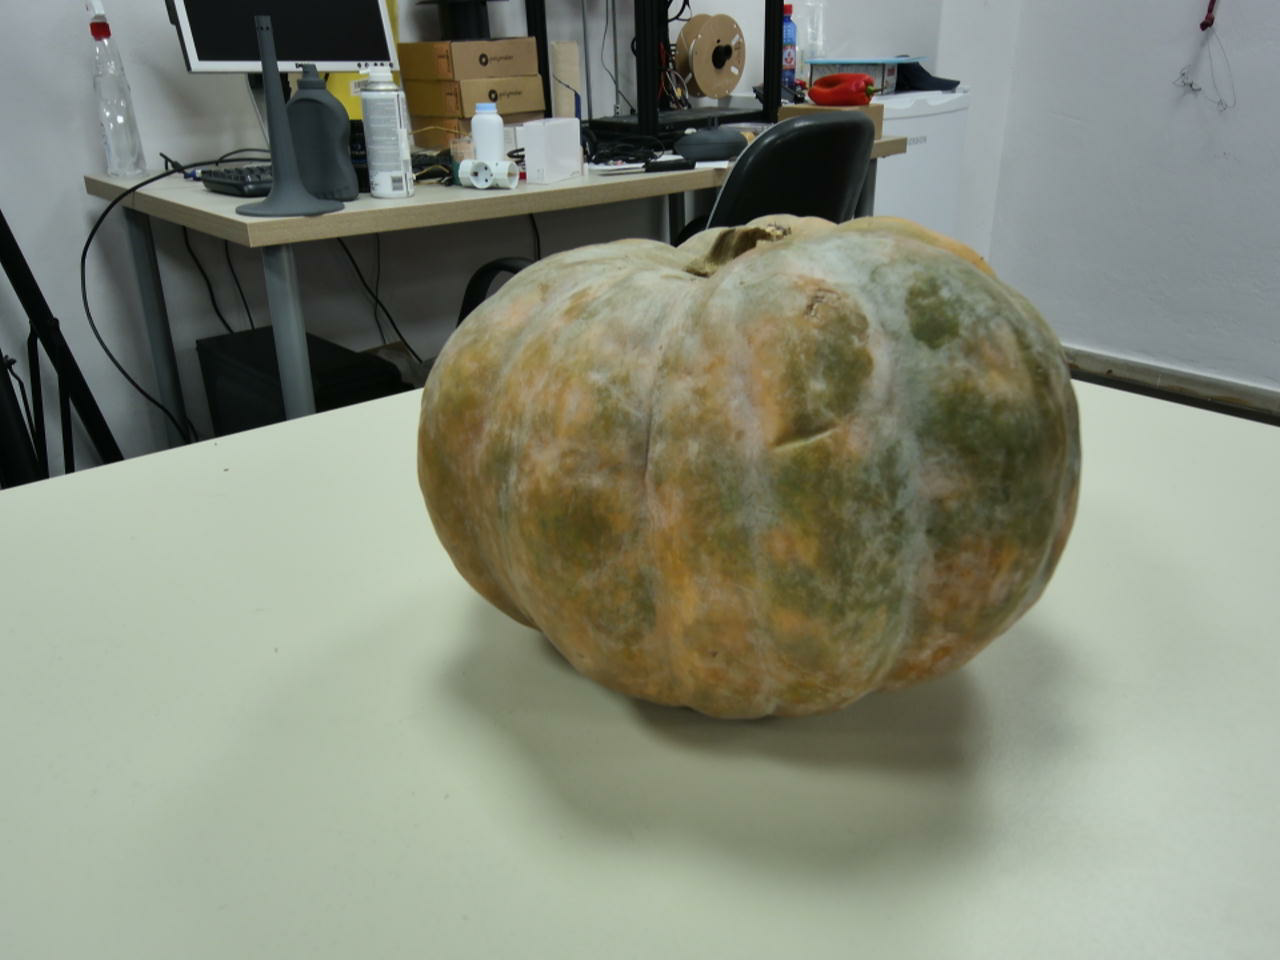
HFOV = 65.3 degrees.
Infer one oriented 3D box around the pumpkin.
[{"bbox_3d":[0.041,-0.017,0.389,0.252,0.169,0.251,0,22,0],"label":"pumpkin"}]
